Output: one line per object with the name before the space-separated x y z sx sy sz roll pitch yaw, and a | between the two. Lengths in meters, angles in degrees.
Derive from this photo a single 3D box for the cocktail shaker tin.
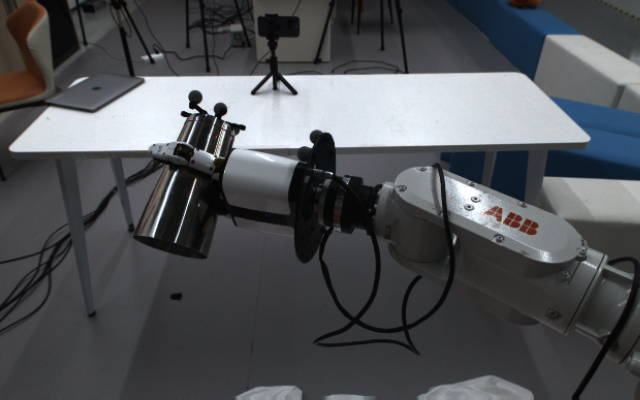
cocktail shaker tin | -0.162 -0.019 0.613 0.093 0.093 0.170 10 71 11
